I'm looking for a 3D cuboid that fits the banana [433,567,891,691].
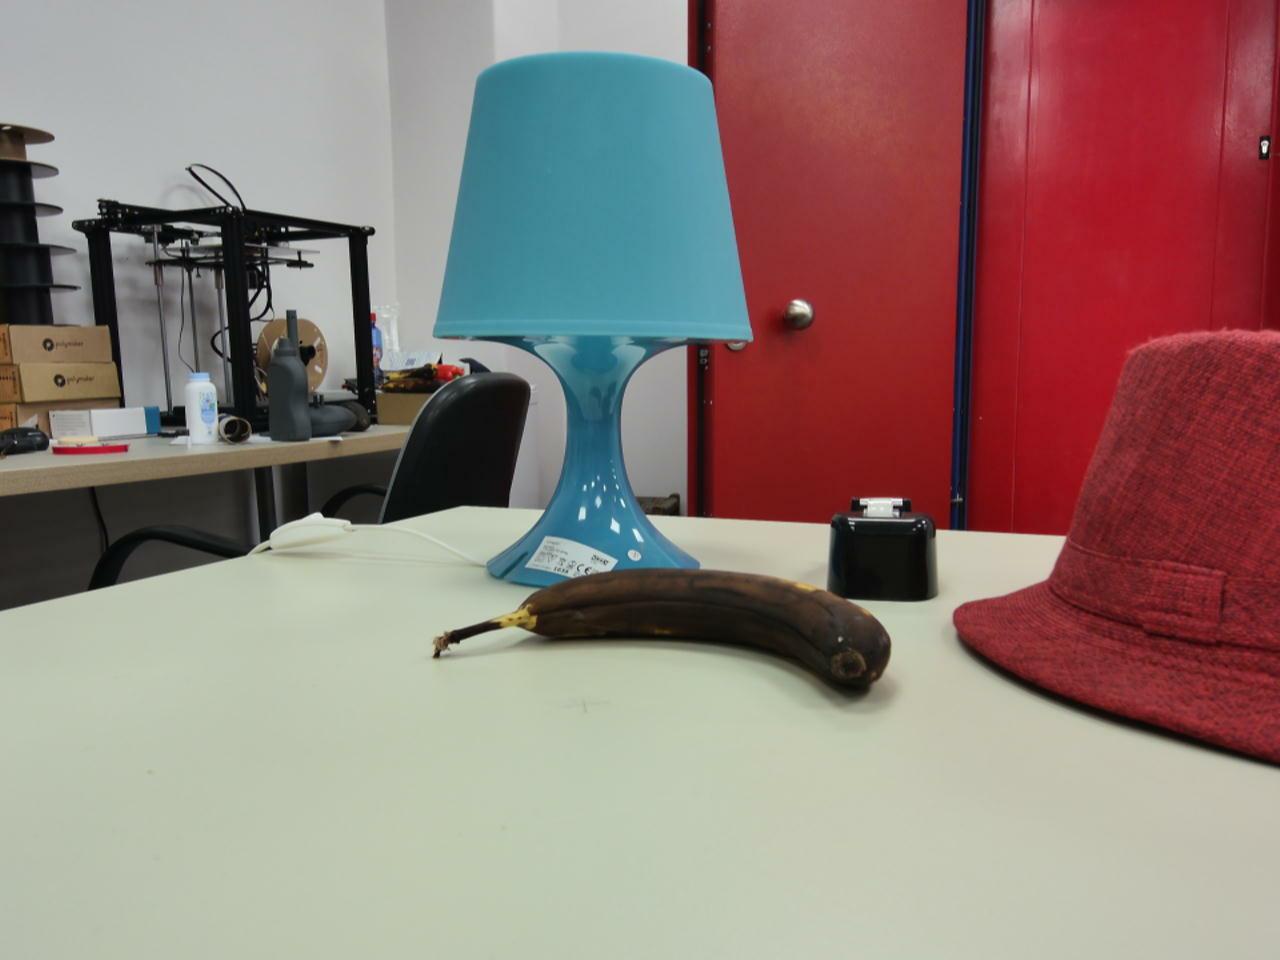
[{"bbox_3d":[0.016,0.058,0.426,0.188,0.033,0.091,2,4,26],"label":"banana"}]
